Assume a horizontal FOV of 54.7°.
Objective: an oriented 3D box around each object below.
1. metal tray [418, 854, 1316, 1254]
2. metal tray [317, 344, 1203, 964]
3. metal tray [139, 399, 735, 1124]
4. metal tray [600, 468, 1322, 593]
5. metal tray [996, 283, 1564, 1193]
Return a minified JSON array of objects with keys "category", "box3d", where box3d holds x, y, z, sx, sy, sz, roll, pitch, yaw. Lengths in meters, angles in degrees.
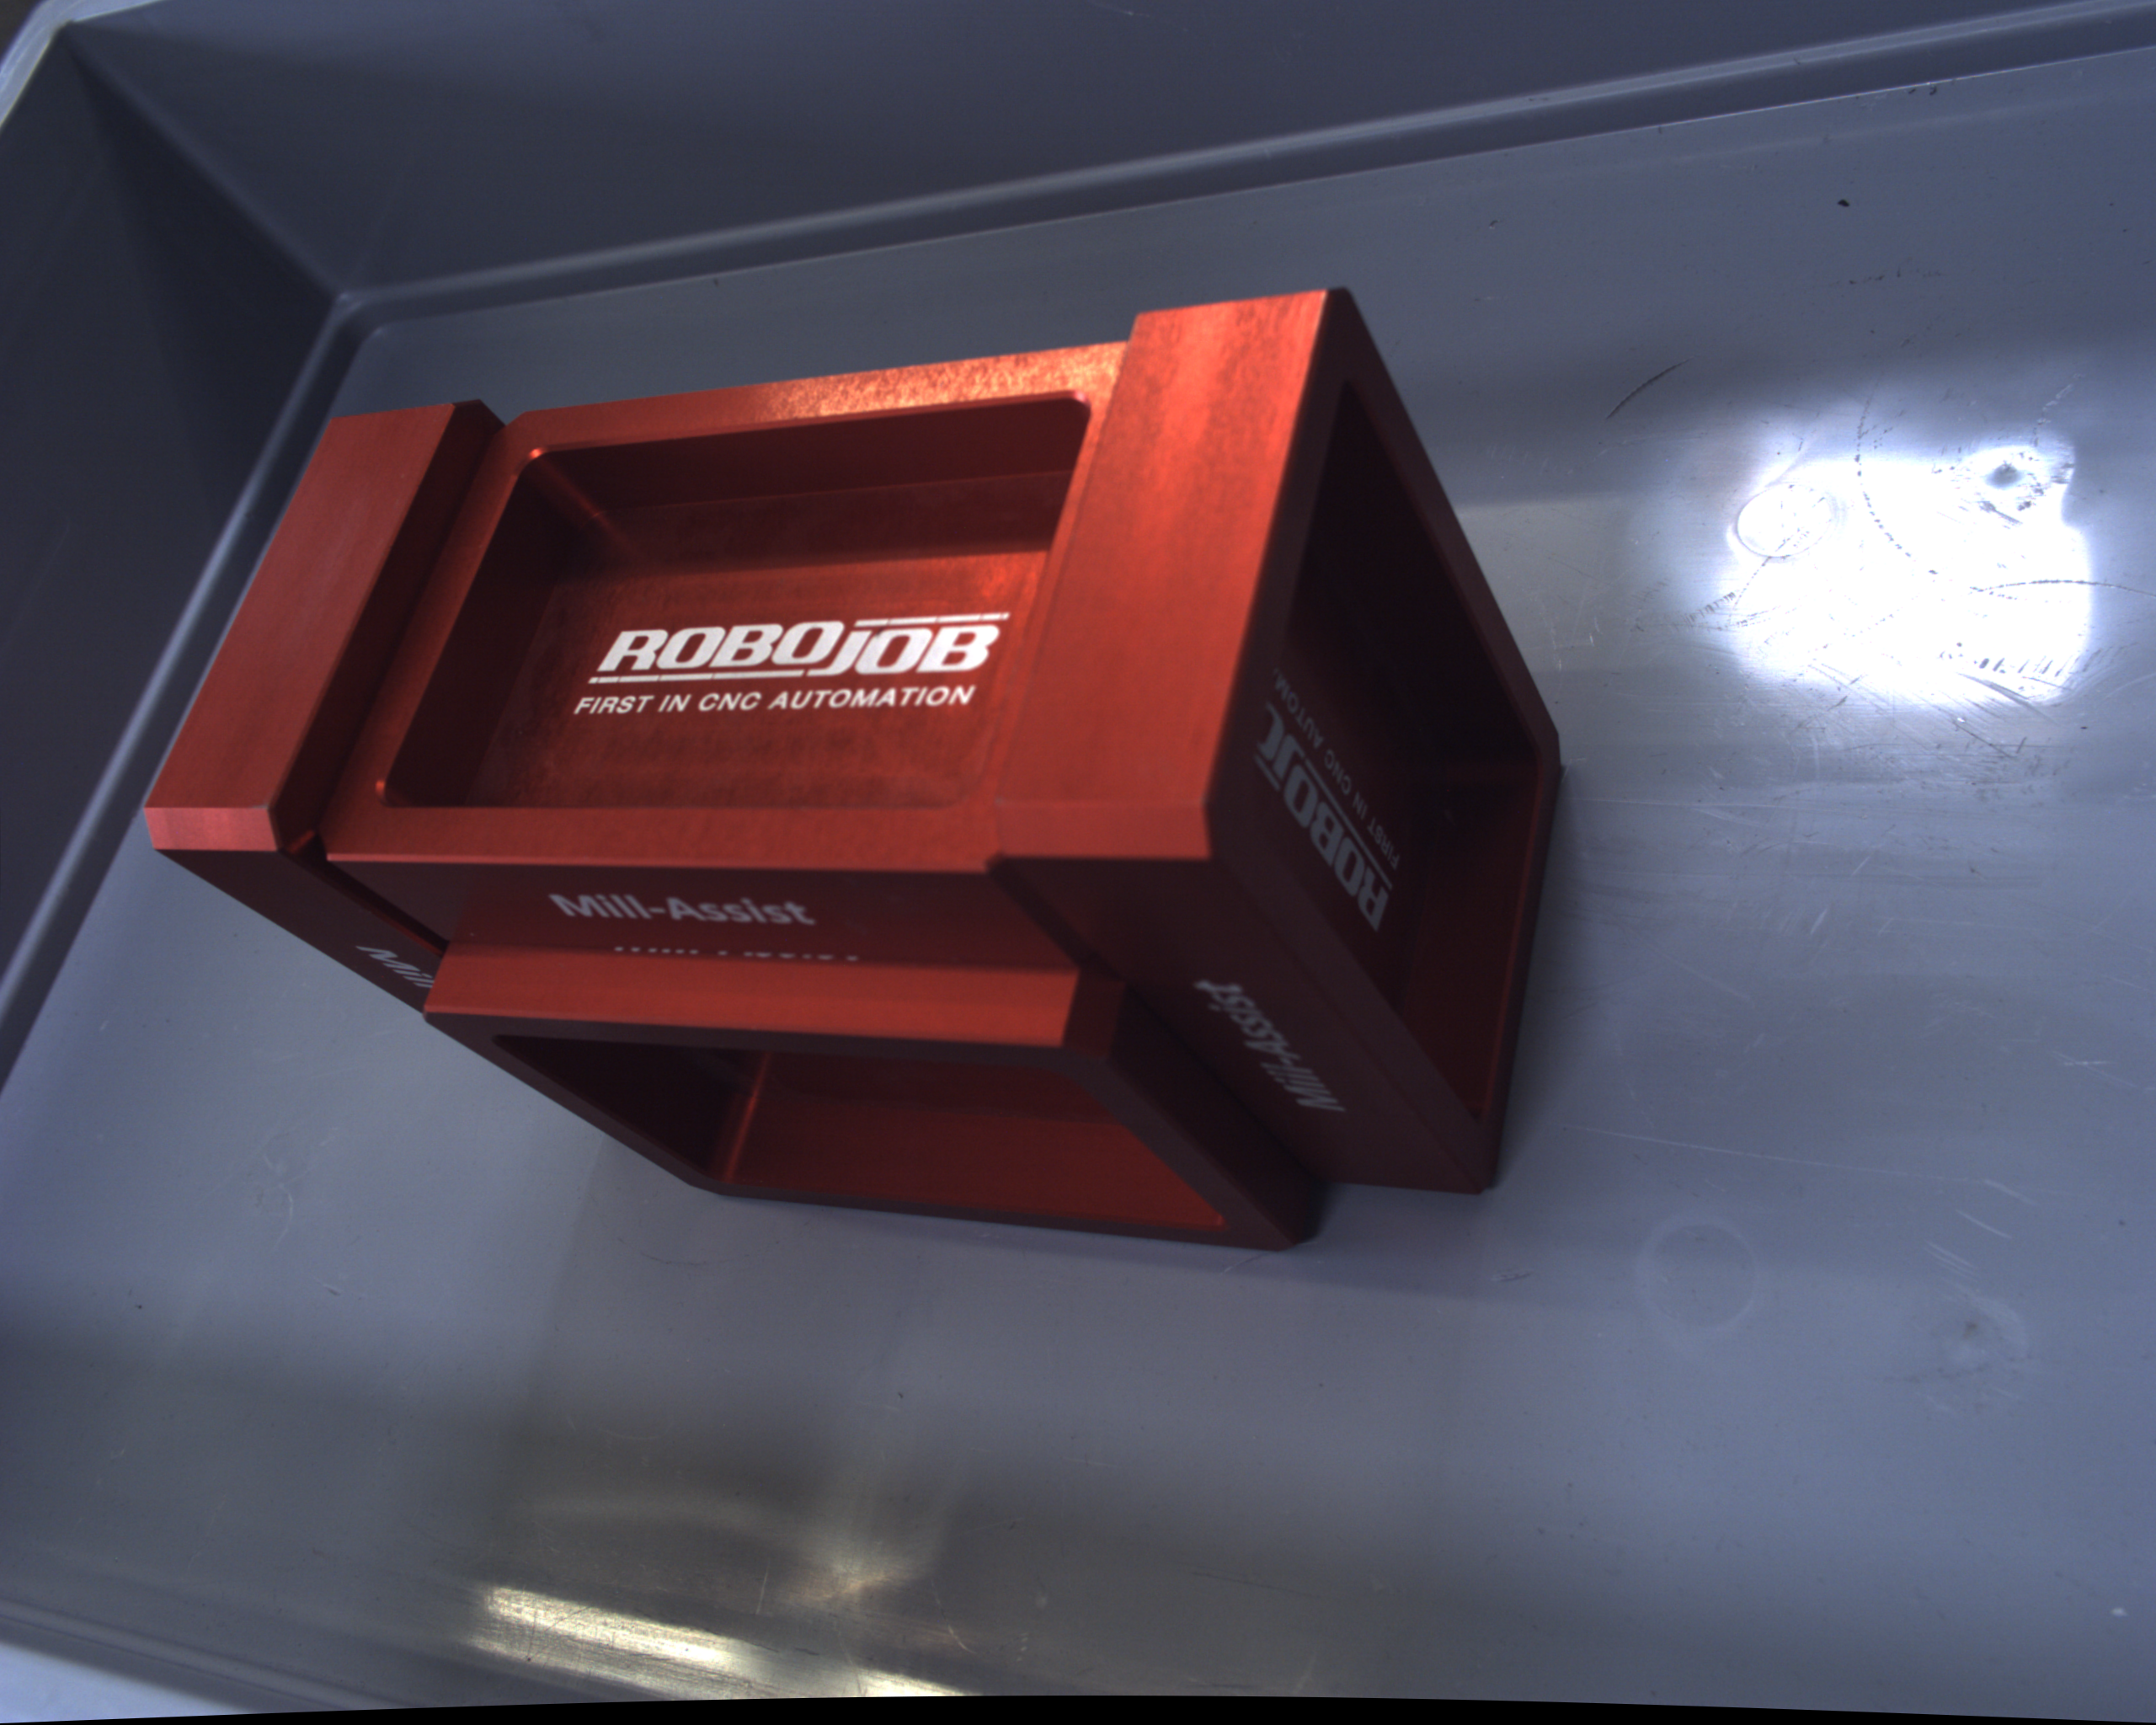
[{"category":"metal tray","box3d":[-0.034,0.033,0.358,0.130,0.090,0.030,0,62,28]},{"category":"metal tray","box3d":[-0.049,-0.033,0.330,0.130,0.030,0.090,1,62,28]},{"category":"metal tray","box3d":[-0.103,-0.014,0.399,0.030,0.130,0.090,1,63,29]},{"category":"metal tray","box3d":[-0.013,-0.046,0.395,0.130,0.090,0.030,0,63,29]},{"category":"metal tray","box3d":[0.039,-0.013,0.323,0.030,0.130,0.090,1,63,29]}]
